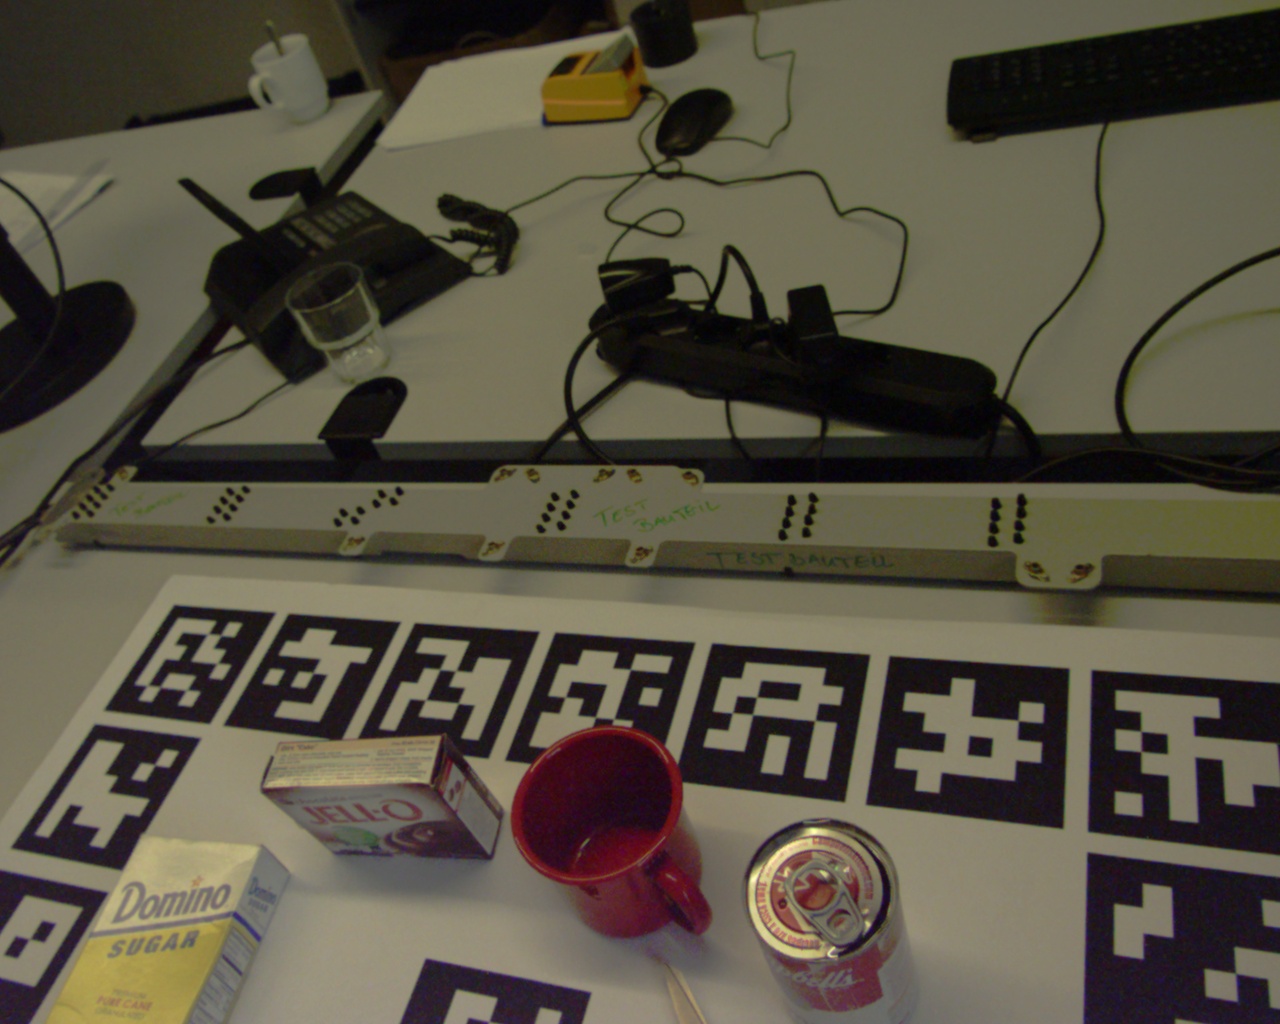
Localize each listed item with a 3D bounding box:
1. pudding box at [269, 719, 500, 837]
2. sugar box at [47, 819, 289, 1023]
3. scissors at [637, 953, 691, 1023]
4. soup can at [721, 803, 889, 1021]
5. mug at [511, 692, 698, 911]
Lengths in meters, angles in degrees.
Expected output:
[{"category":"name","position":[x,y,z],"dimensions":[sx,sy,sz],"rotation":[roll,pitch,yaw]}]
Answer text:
[{"category":"pudding box","position":[-0.153,0.163,0.694],"dimensions":[0.115,0.089,0.039],"rotation":[-6,53,16]},{"category":"sugar box","position":[-0.290,0.275,0.684],"dimensions":[0.094,0.045,0.176],"rotation":[-3,49,22]},{"category":"scissors","position":[0.048,0.295,0.543],"dimensions":[0.088,0.015,0.205],"rotation":[-36,46,-1]},{"category":"soup can","position":[0.085,0.201,0.570],"dimensions":[0.068,0.101,0.068],"rotation":[-12,43,11]},{"category":"mug","position":[-0.012,0.171,0.641],"dimensions":[0.093,0.081,0.118],"rotation":[-27,43,-1]}]
